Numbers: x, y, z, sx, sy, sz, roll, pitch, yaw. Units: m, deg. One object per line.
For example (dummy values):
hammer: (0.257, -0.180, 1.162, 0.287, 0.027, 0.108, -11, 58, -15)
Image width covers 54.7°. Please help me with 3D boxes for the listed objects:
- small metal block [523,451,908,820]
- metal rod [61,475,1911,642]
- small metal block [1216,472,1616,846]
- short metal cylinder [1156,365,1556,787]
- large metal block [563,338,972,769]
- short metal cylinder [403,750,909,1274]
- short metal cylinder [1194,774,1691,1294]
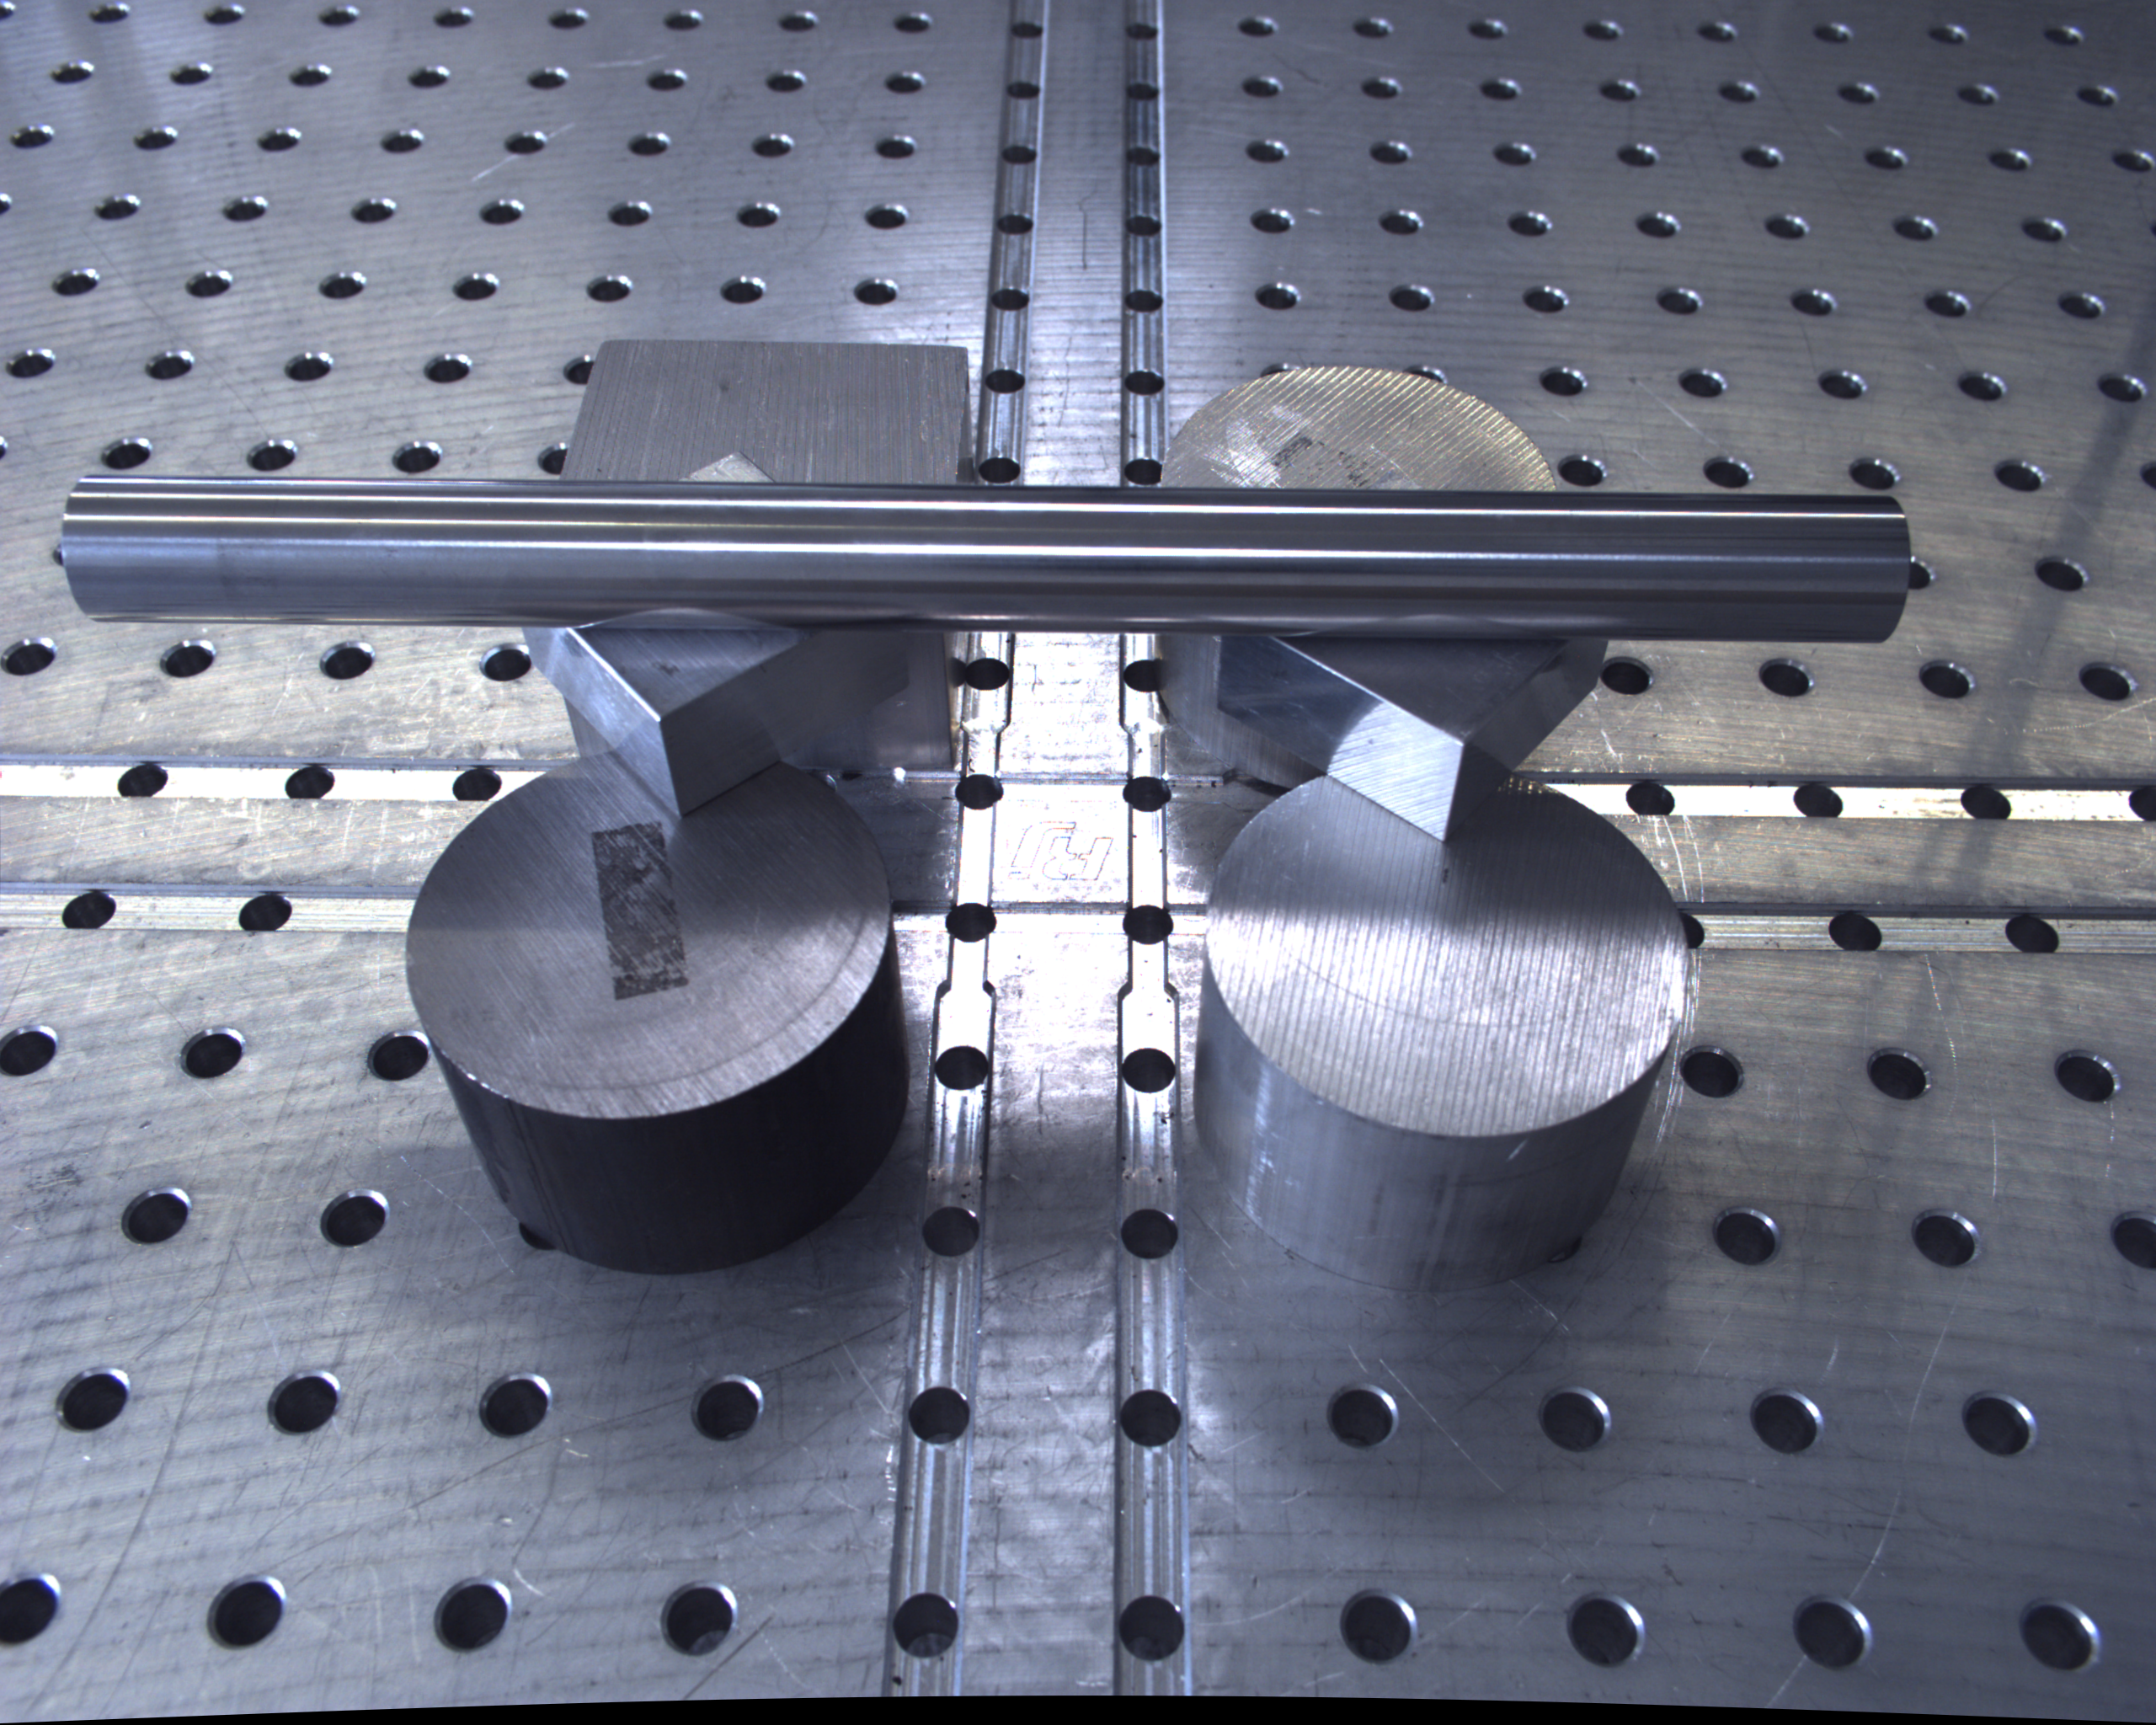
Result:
small metal block: (-0.067, -0.042, 0.378, 0.050, 0.025, 0.050, -33, 57, -25)
metal rod: (-0.015, -0.051, 0.353, 0.302, 0.025, 0.025, 1, 50, 0)
small metal block: (0.061, -0.038, 0.375, 0.050, 0.025, 0.050, 33, 57, 24)
short metal cylinder: (0.057, -0.061, 0.443, 0.080, 0.050, 0.080, 0, 50, 0)
large metal block: (-0.065, -0.067, 0.446, 0.080, 0.050, 0.080, 1, 50, 1)
short metal cylinder: (-0.072, 0.025, 0.369, 0.080, 0.050, 0.080, 0, 50, 0)
short metal cylinder: (0.062, 0.028, 0.368, 0.080, 0.050, 0.080, 0, 50, 0)
